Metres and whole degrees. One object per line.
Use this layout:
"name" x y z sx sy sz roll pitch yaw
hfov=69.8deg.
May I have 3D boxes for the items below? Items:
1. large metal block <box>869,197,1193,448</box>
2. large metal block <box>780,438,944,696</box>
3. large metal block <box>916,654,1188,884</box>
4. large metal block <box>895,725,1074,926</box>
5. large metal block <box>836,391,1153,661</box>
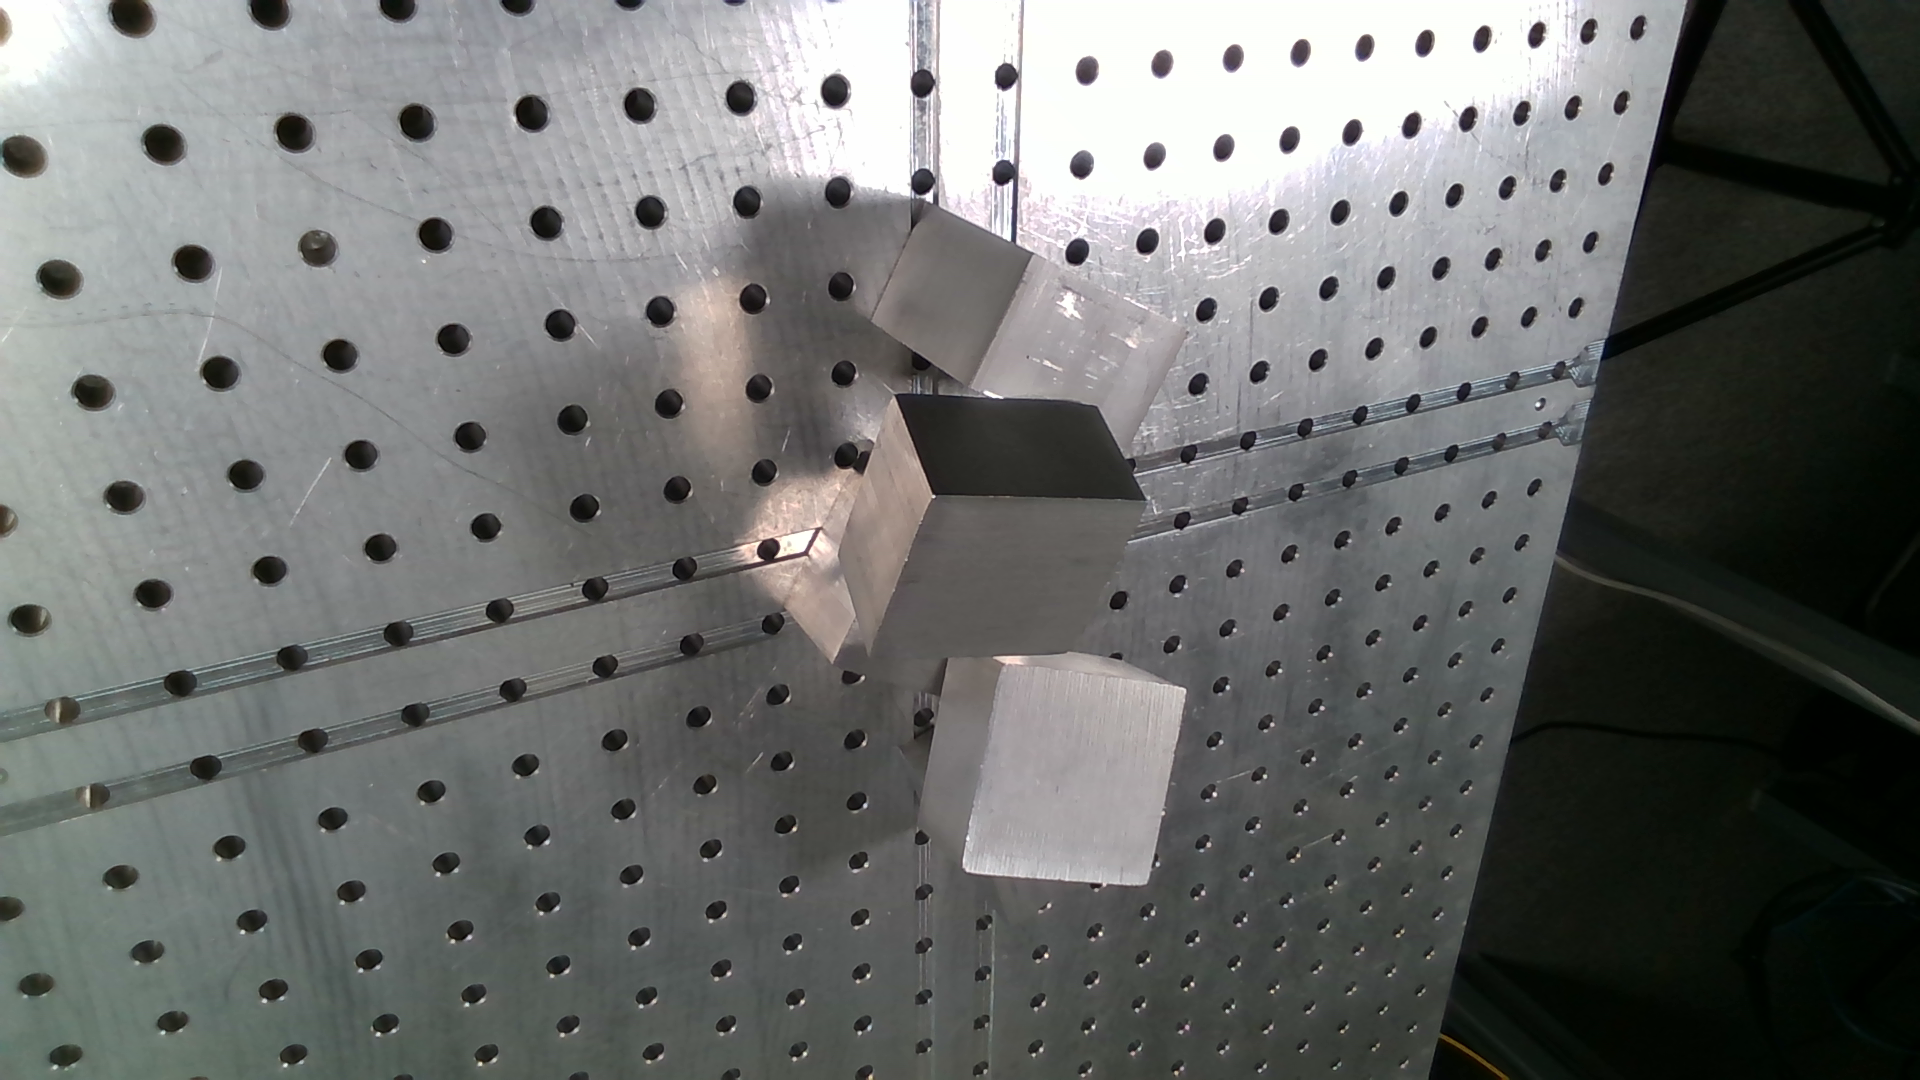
"large metal block" 0.025 -0.082 0.519 0.080 0.080 0.050 18 105 -37
"large metal block" -0.014 0.015 0.566 0.080 0.050 0.080 20 103 -37
"large metal block" 0.035 0.086 0.546 0.080 0.050 0.080 10 94 -22
"large metal block" 0.029 0.113 0.627 0.080 0.080 0.050 -29 126 -16
"large metal block" 0.009 -0.003 0.487 0.080 0.050 0.080 0 135 -24
